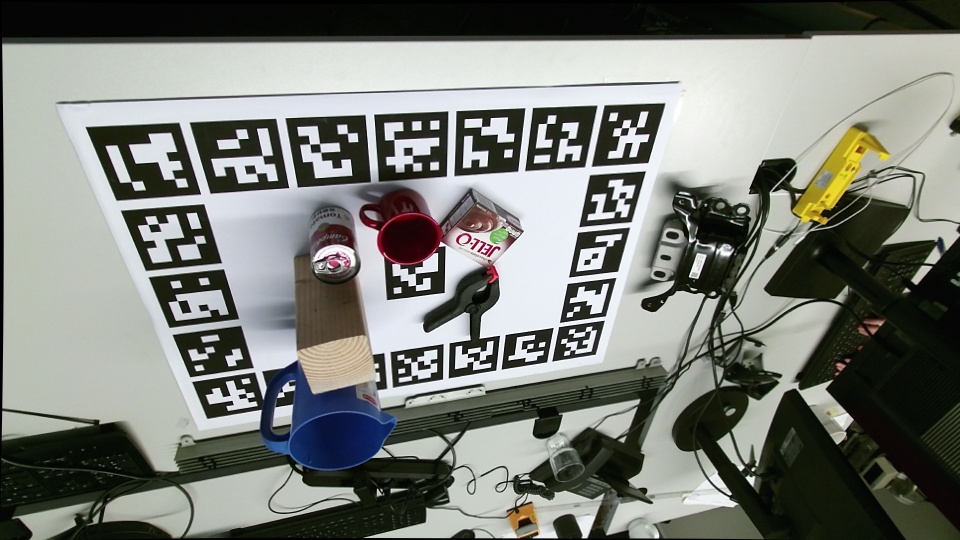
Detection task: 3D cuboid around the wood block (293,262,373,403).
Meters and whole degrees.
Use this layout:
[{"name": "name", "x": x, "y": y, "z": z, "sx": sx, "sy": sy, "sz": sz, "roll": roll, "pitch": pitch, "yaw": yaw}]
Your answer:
[{"name": "wood block", "x": -0.213, "y": 0.080, "z": 0.782, "sx": 0.090, "sy": 0.205, "sz": 0.091, "roll": -8, "pitch": 128, "yaw": -9}]

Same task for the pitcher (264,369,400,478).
[{"name": "pitcher", "x": -0.238, "y": 0.189, "z": 0.837, "sx": 0.189, "sy": 0.241, "sz": 0.133, "roll": -10, "pitch": 131, "yaw": -16}]

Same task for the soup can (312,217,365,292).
[{"name": "soup can", "x": -0.206, "y": -0.025, "z": 0.772, "sx": 0.068, "sy": 0.101, "sz": 0.068, "roll": -9, "pitch": 126, "yaw": -13}]

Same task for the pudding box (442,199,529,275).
[{"name": "pudding box", "x": 0.010, "y": -0.053, "z": 0.872, "sx": 0.114, "sy": 0.038, "sz": 0.090, "roll": 28, "pitch": 110, "yaw": -35}]

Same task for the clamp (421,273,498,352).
[{"name": "clamp", "x": -0.019, "y": 0.076, "z": 0.968, "sx": 0.122, "sy": 0.036, "sz": 0.165, "roll": 22, "pitch": 116, "yaw": -24}]

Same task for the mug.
[{"name": "mug", "x": -0.118, "y": -0.059, "z": 0.791, "sx": 0.117, "sy": 0.081, "sz": 0.093, "roll": 26, "pitch": 117, "yaw": -34}]
